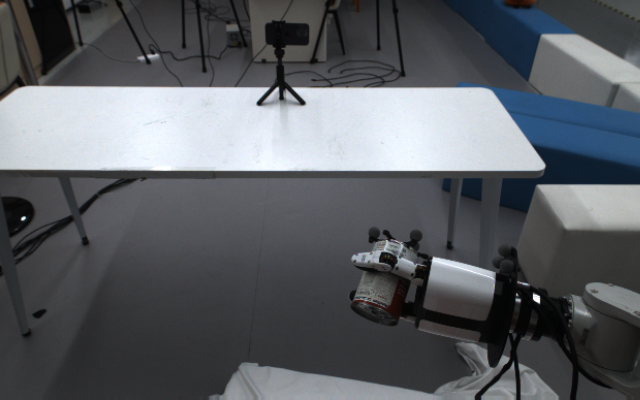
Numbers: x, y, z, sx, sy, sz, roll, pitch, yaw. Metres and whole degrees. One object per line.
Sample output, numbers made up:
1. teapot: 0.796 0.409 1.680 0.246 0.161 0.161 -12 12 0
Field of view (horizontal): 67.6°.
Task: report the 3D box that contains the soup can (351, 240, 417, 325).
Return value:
1. soup can: 0.092 0.112 0.670 0.067 0.067 0.101 15 62 18
